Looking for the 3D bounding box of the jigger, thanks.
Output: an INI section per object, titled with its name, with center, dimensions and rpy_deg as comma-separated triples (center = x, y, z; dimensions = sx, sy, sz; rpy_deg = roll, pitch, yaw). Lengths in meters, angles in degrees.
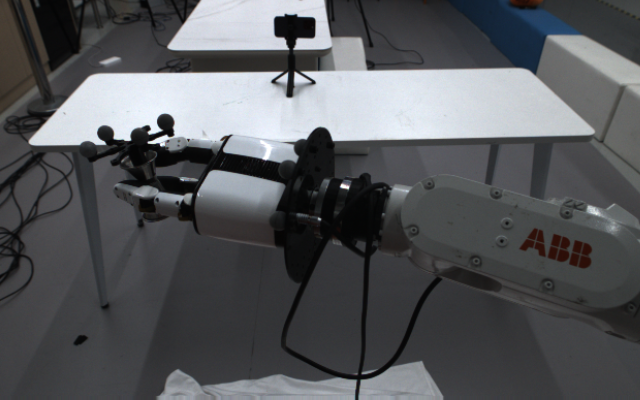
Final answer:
[jigger]
center = -0.185, -0.015, 0.537
dimensions = 0.043, 0.071, 0.043
rpy_deg = -10, 32, 6
